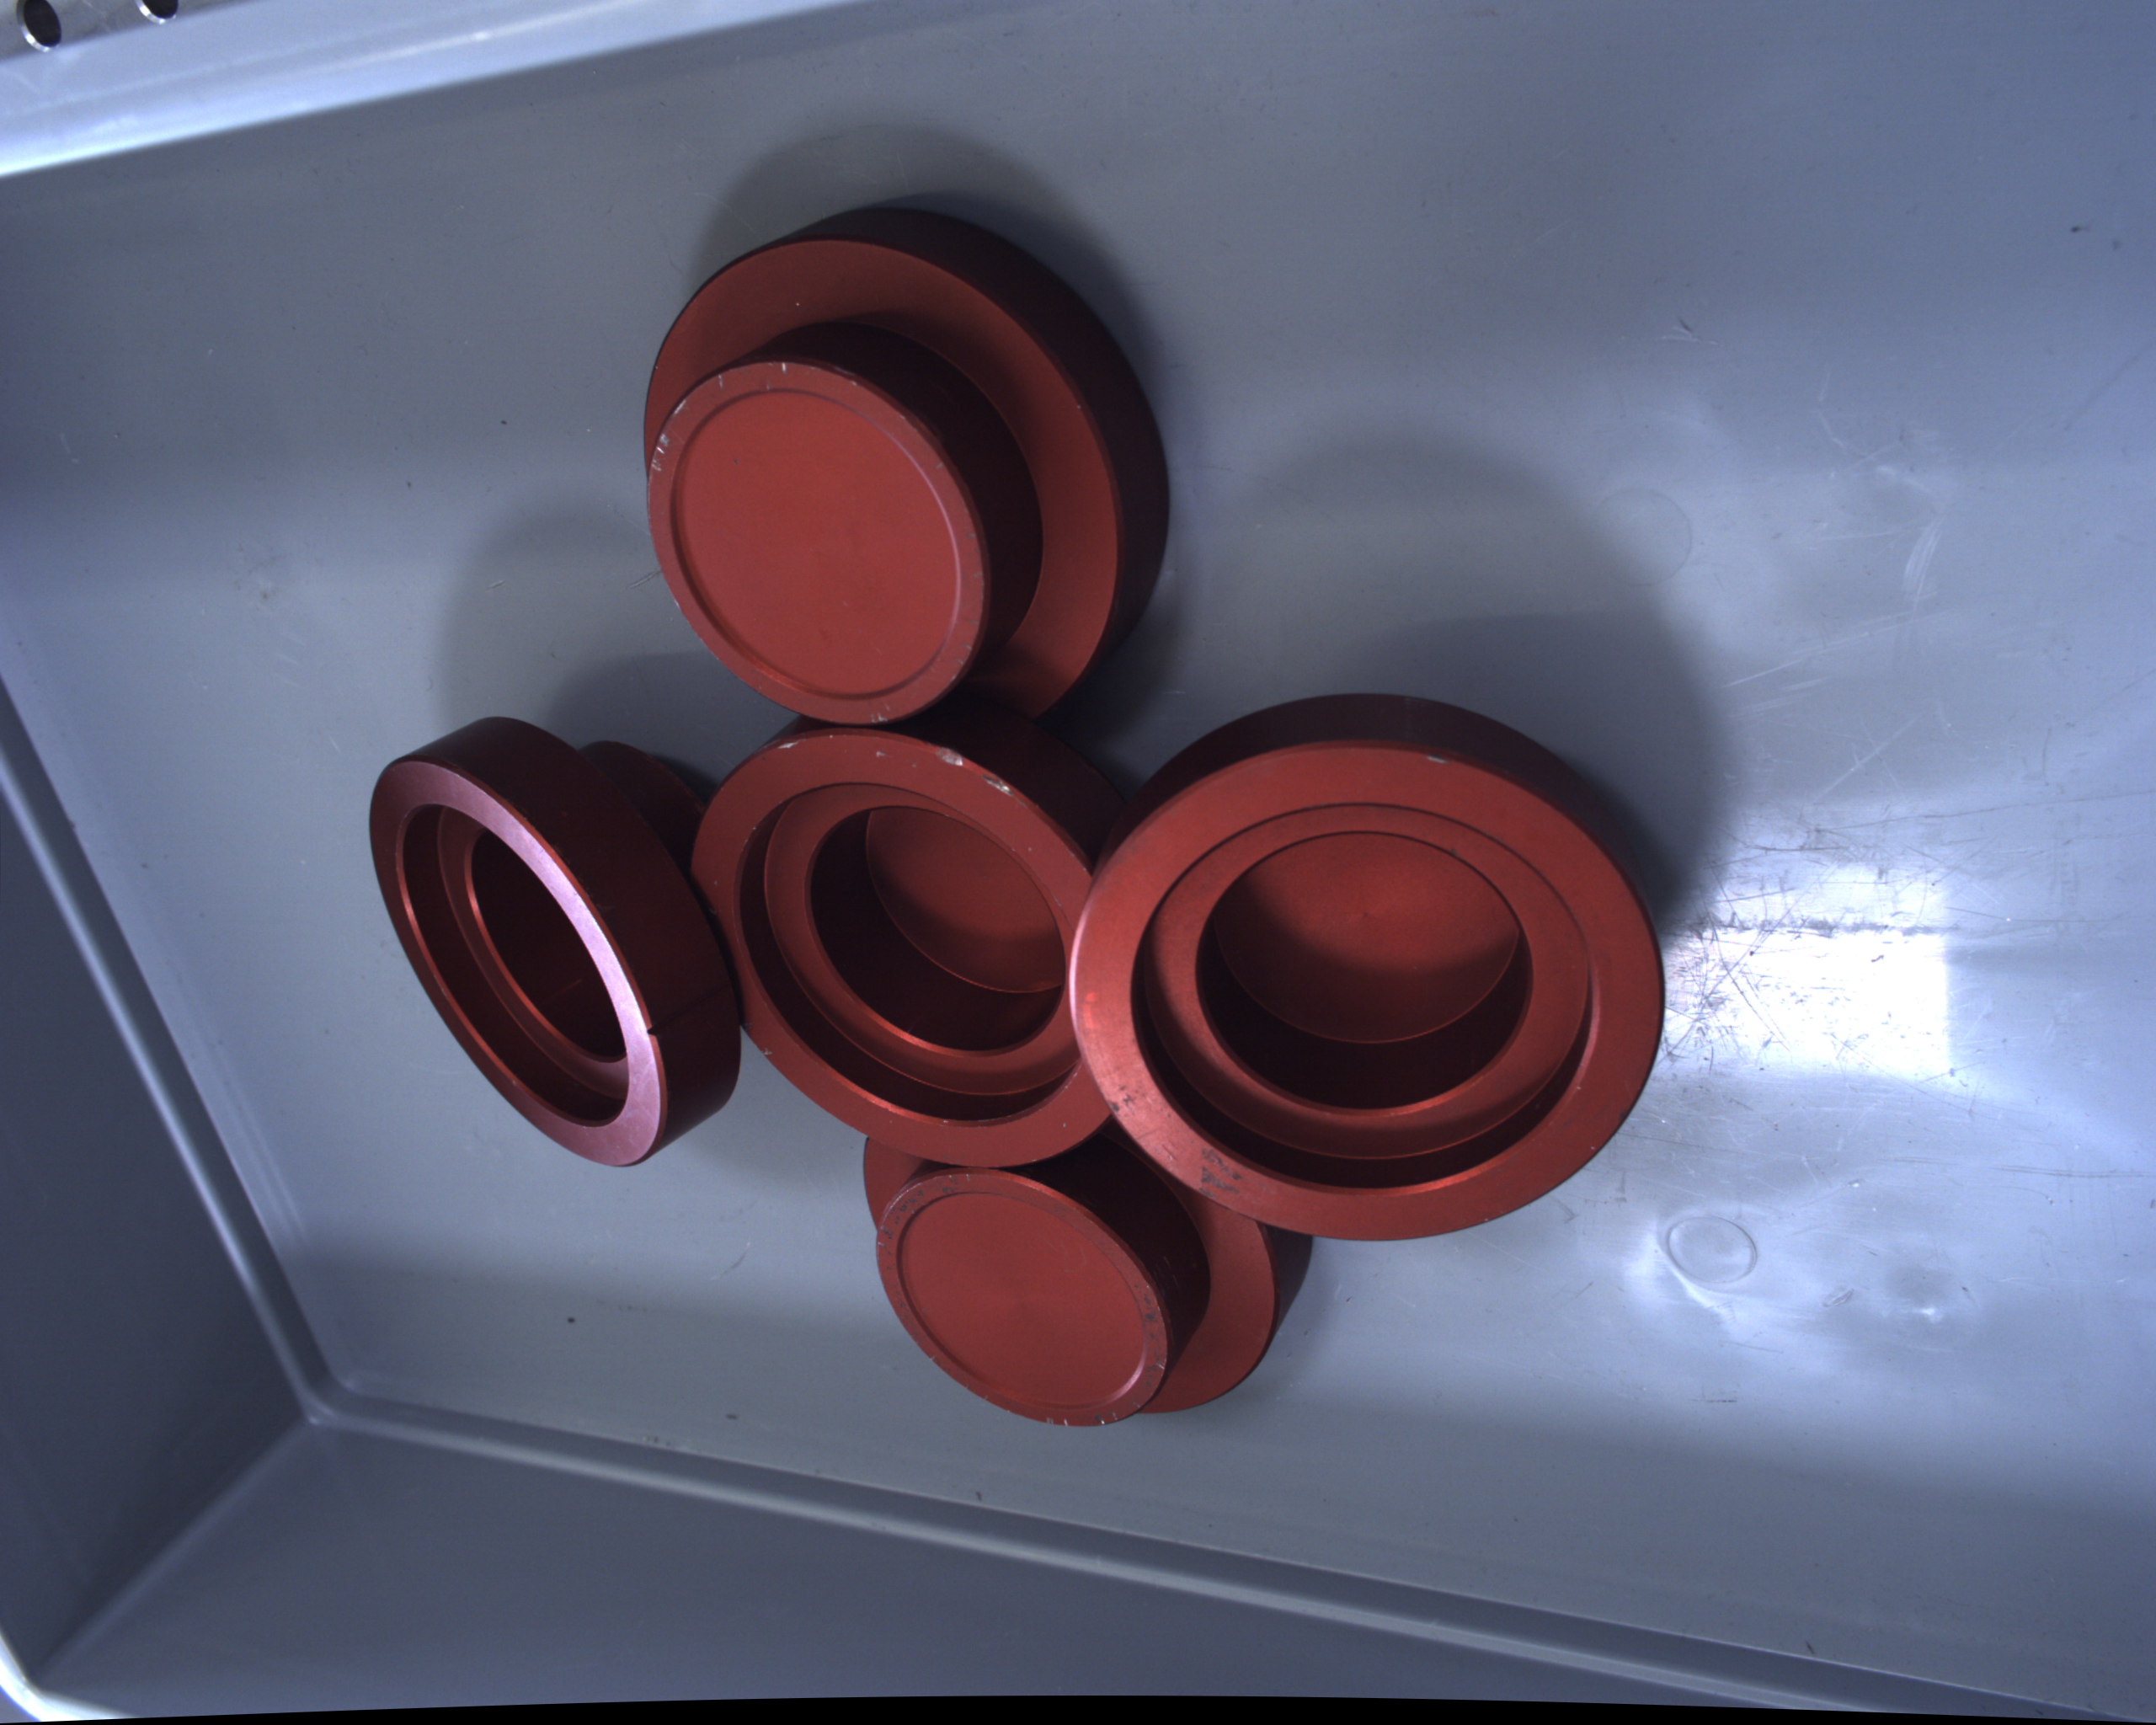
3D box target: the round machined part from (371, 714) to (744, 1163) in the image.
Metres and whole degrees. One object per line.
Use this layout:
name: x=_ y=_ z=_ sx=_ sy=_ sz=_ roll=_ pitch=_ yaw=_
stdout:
round machined part: x=-0.104 y=0.012 z=0.448 sx=0.098 sy=0.042 sz=0.097 roll=28 pitch=135 yaw=32

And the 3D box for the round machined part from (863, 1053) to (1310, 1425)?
round machined part: x=-0.004 y=0.081 z=0.448 sx=0.098 sy=0.042 sz=0.097 roll=13 pitch=124 yaw=21

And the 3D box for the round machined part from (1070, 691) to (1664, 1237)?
round machined part: x=0.050 y=0.014 z=0.367 sx=0.098 sy=0.042 sz=0.097 roll=4 pitch=118 yaw=7

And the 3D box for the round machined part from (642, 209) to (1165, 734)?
round machined part: x=-0.038 y=-0.064 z=0.376 sx=0.098 sy=0.042 sz=0.097 roll=13 pitch=124 yaw=21

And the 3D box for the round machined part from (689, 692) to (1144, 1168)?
round machined part: x=-0.024 y=0.009 z=0.413 sx=0.098 sy=0.042 sz=0.097 roll=13 pitch=124 yaw=21
